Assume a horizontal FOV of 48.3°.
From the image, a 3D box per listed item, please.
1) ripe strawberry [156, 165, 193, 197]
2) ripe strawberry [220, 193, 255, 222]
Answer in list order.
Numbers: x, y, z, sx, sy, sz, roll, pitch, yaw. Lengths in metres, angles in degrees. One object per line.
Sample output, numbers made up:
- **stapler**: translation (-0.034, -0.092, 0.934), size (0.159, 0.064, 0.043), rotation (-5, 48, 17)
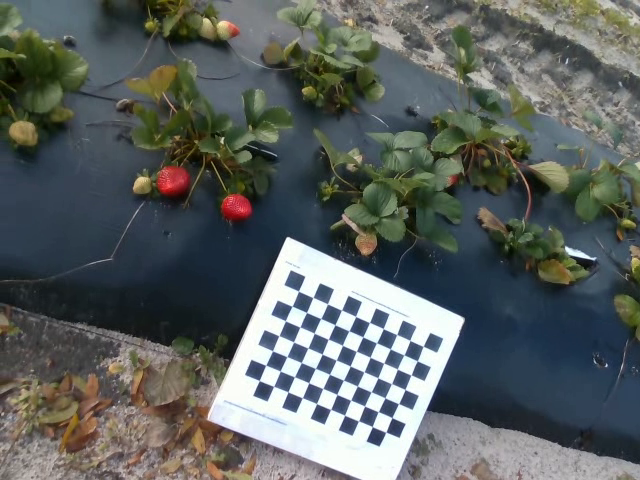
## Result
- **ripe strawberry**: translation (-0.140, -0.058, 0.691), size (0.035, 0.041, 0.036), rotation (9, 26, -8)
- **ripe strawberry**: translation (-0.078, -0.033, 0.709), size (0.033, 0.038, 0.039), rotation (35, 6, -31)
